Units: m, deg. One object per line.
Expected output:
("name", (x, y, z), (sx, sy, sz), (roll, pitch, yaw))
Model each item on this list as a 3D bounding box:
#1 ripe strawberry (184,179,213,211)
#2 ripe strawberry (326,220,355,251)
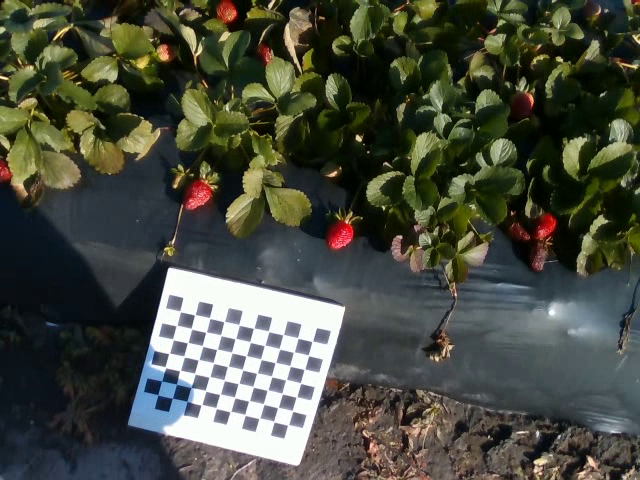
("ripe strawberry", (-0.177, -0.063, 0.804), (0.041, 0.053, 0.043), (25, -38, -5))
("ripe strawberry", (0.020, -0.002, 0.801), (0.043, 0.043, 0.050), (-35, 10, 46))
